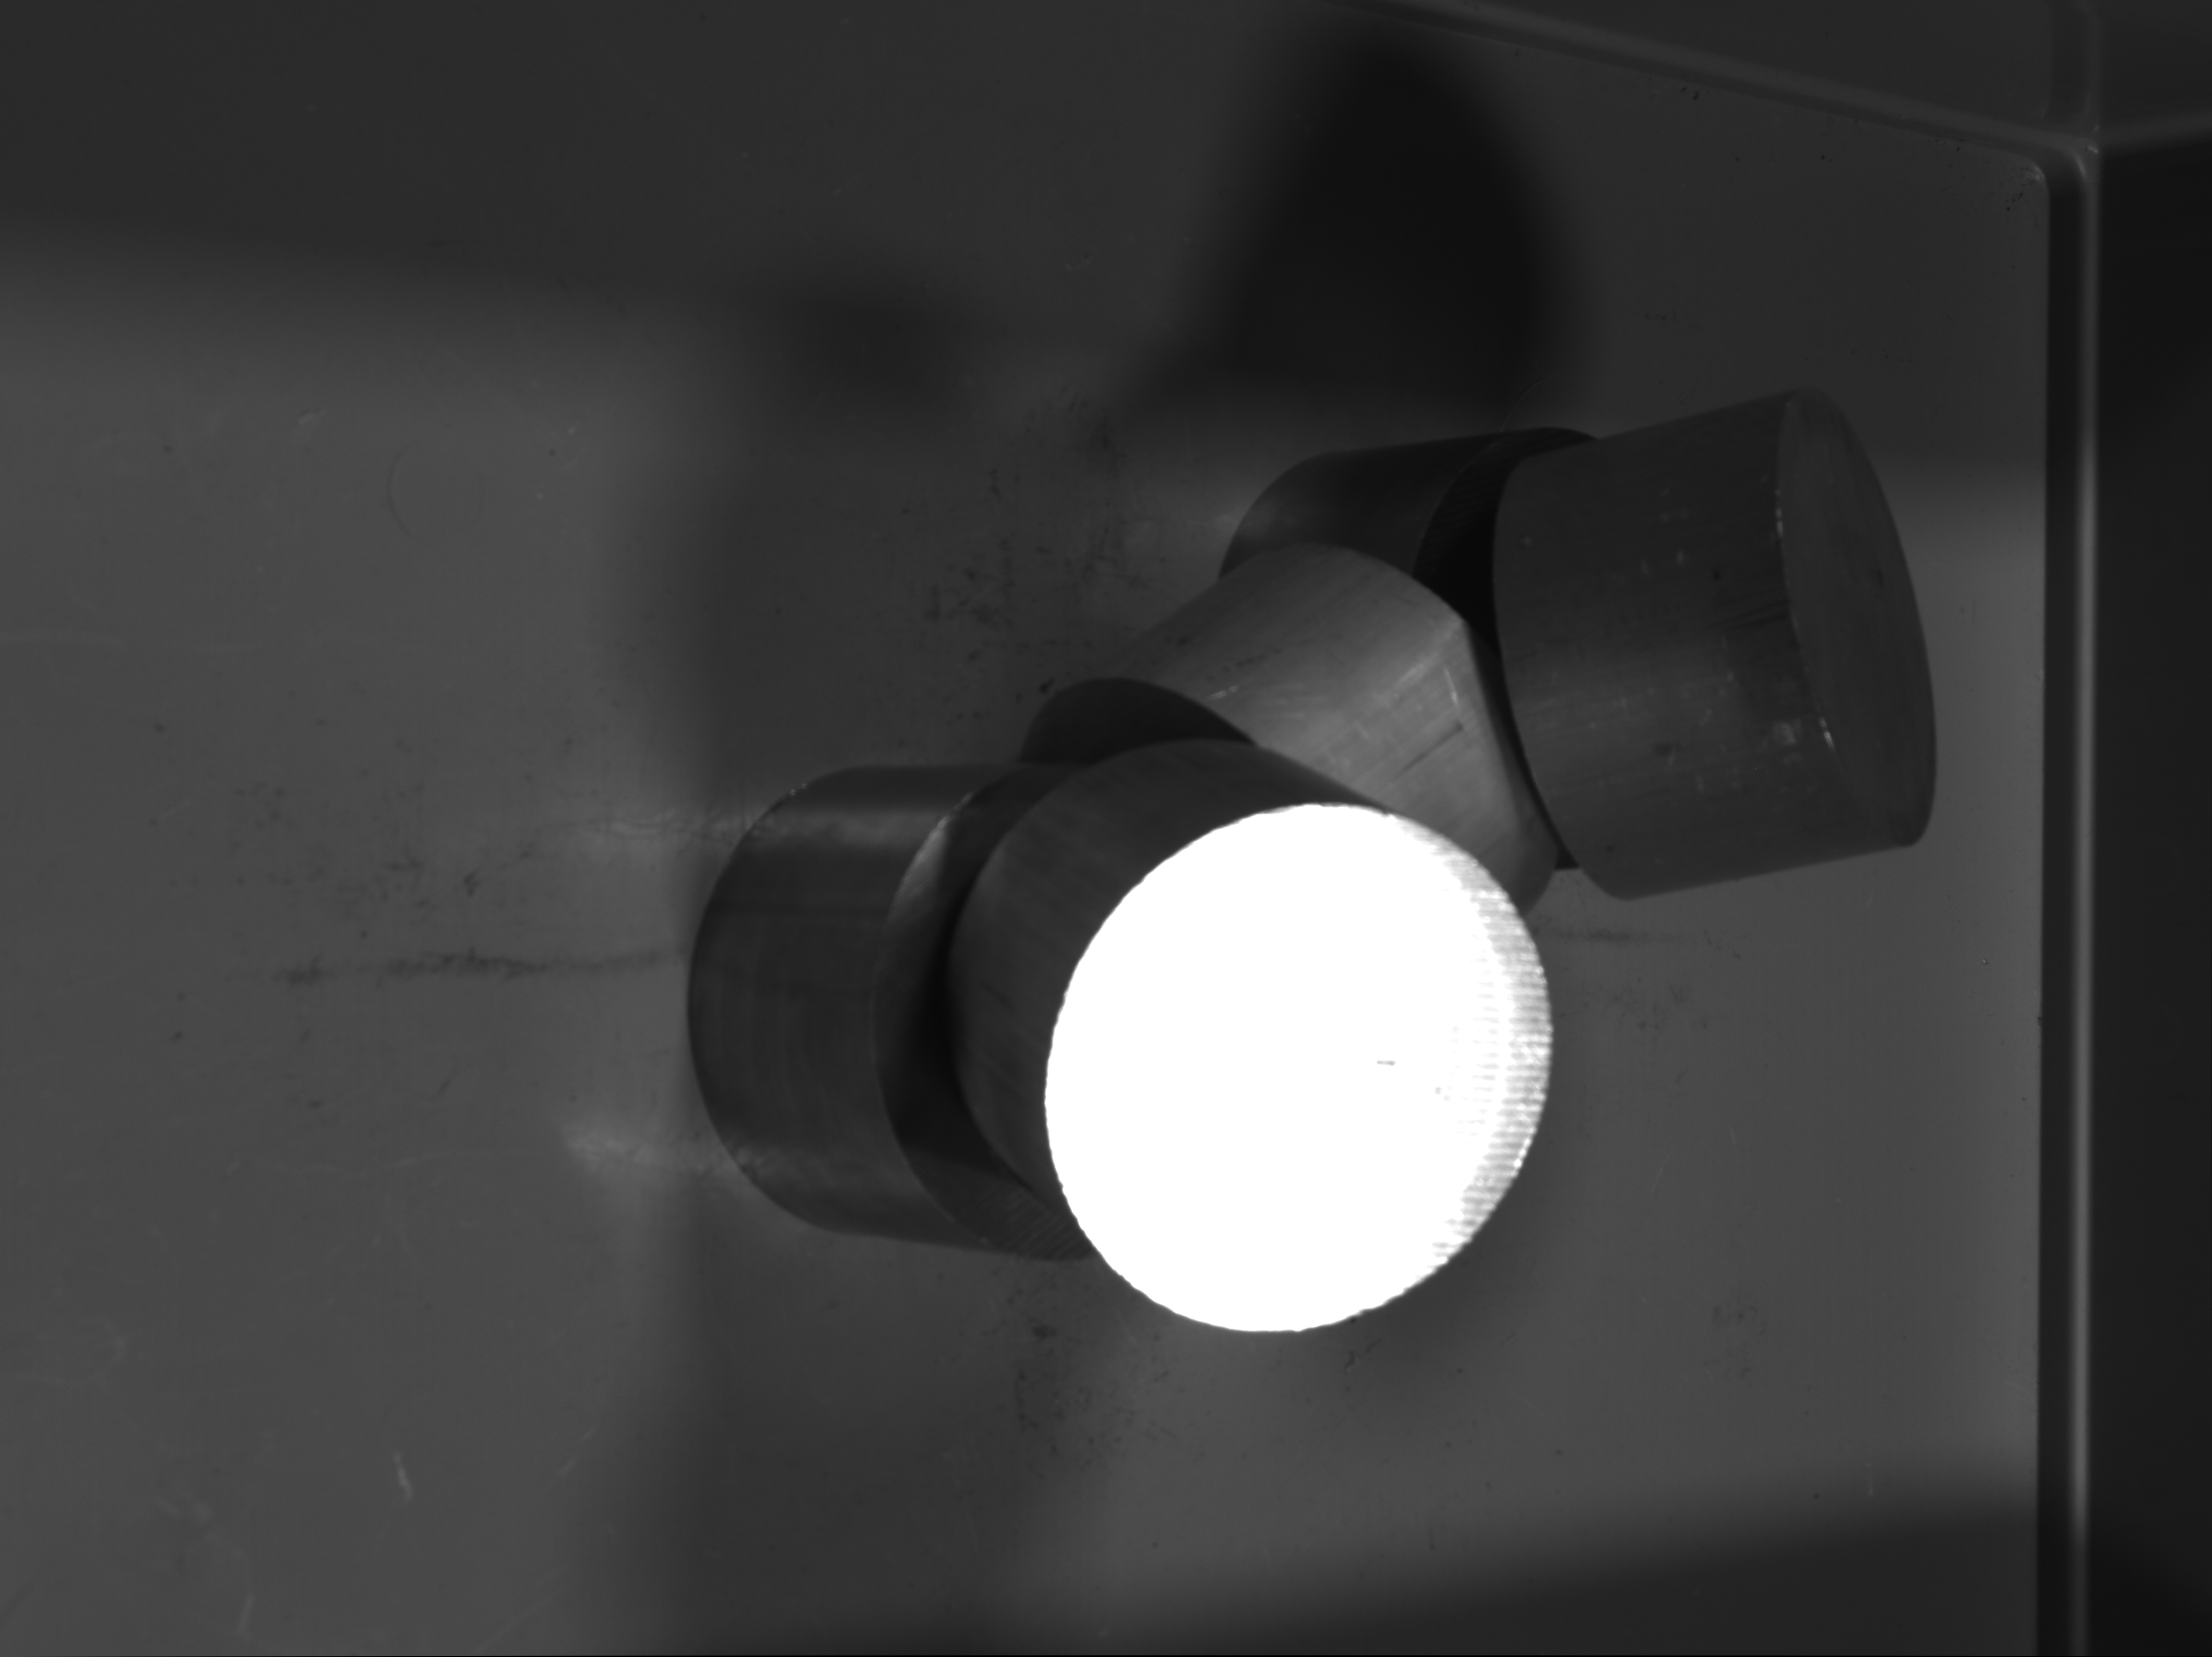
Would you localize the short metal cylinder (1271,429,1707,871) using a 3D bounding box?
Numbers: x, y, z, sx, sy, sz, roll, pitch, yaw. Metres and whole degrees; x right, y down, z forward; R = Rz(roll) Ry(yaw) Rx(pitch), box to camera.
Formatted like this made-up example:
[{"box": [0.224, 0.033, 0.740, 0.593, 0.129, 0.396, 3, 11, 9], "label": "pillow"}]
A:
[{"box": [0.075, -0.032, 0.682, 0.080, 0.050, 0.080, 0, 90, -40], "label": "short metal cylinder"}]

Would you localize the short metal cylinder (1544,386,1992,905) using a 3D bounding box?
[{"box": [0.115, -0.031, 0.631, 0.080, 0.050, 0.080, 34, 49, -52], "label": "short metal cylinder"}]

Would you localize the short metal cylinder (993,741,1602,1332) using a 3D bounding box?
[{"box": [0.028, 0.031, 0.560, 0.080, 0.050, 0.080, -4, 104, -19], "label": "short metal cylinder"}]

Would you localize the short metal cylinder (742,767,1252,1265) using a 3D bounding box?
[{"box": [-0.013, 0.030, 0.608, 0.080, 0.050, 0.080, 0, 90, -40], "label": "short metal cylinder"}]

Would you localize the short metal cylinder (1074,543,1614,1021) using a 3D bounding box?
[{"box": [0.041, -0.002, 0.634, 0.050, 0.080, 0.080, -36, 112, -34], "label": "short metal cylinder"}]
